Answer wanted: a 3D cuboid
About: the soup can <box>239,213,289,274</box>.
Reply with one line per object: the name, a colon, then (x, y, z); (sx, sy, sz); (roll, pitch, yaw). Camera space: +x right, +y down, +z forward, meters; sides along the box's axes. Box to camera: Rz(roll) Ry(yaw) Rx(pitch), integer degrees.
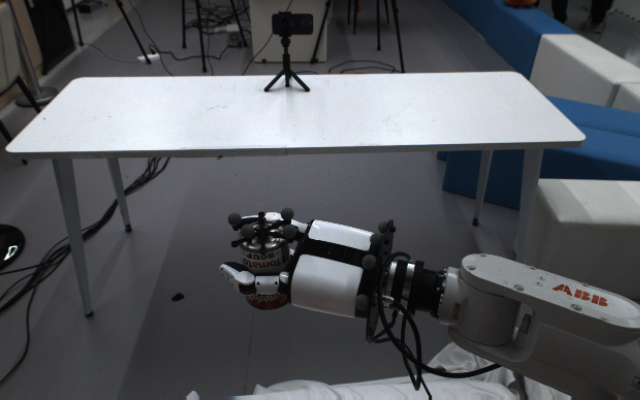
soup can: (-0.070, 0.088, 0.649); (0.067, 0.101, 0.067); (-2, 32, 1)
